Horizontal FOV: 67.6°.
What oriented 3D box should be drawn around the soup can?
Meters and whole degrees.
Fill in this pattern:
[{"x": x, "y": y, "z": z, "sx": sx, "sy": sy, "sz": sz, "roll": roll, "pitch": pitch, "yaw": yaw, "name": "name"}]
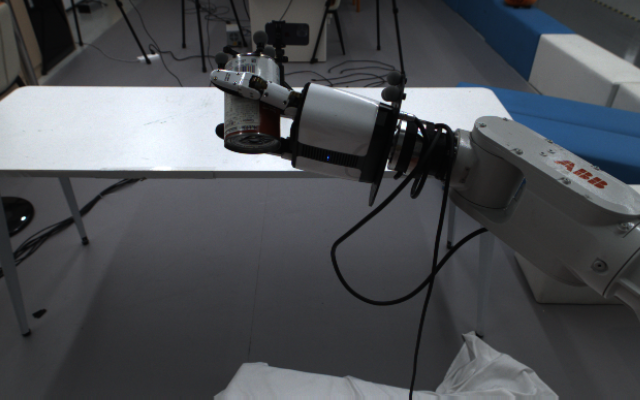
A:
[{"x": -0.079, "y": -0.114, "z": 0.579, "sx": 0.067, "sy": 0.067, "sz": 0.101, "roll": -2, "pitch": 77, "yaw": -6, "name": "soup can"}]
